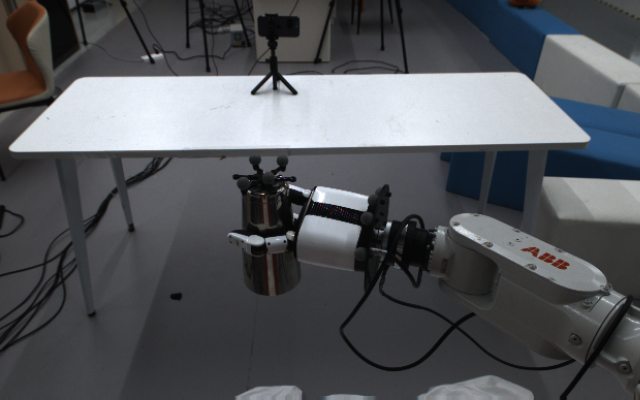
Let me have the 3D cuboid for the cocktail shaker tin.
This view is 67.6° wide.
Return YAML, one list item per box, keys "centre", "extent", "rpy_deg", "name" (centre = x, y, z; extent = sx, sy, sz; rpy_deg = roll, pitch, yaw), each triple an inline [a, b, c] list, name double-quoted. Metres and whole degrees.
- centre: [-0.074, 0.047, 0.722]
  extent: [0.093, 0.170, 0.093]
  rpy_deg: [-1, 33, 0]
  name: "cocktail shaker tin"
